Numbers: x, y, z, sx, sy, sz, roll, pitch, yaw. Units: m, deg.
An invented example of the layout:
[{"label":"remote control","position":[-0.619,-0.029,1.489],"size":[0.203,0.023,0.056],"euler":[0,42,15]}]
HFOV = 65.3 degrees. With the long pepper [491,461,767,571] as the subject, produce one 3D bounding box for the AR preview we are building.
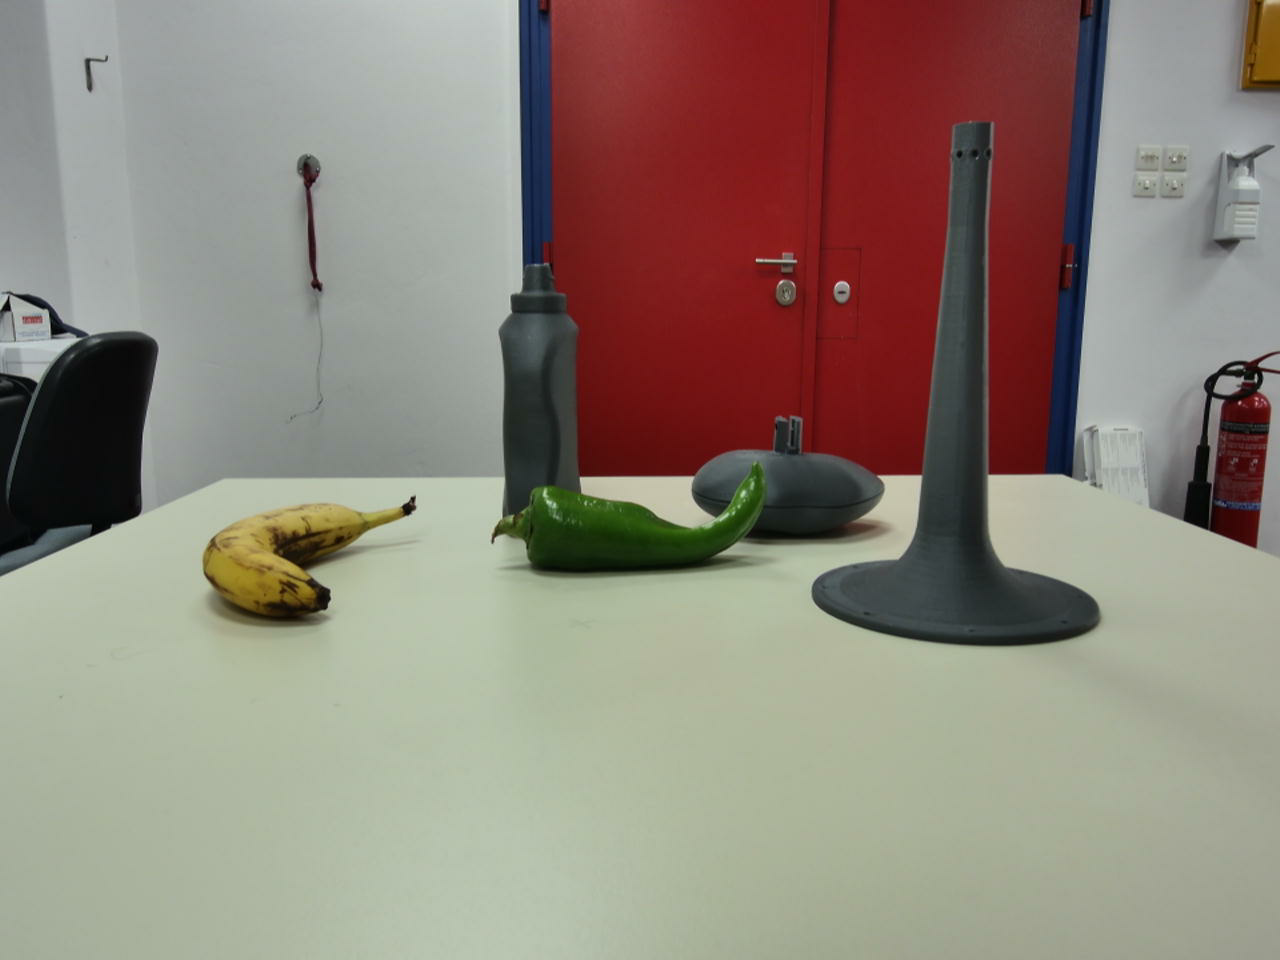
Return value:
[{"label":"long pepper","position":[-0.006,0.023,0.629],"size":[0.175,0.065,0.058],"euler":[-1,8,-2]}]
